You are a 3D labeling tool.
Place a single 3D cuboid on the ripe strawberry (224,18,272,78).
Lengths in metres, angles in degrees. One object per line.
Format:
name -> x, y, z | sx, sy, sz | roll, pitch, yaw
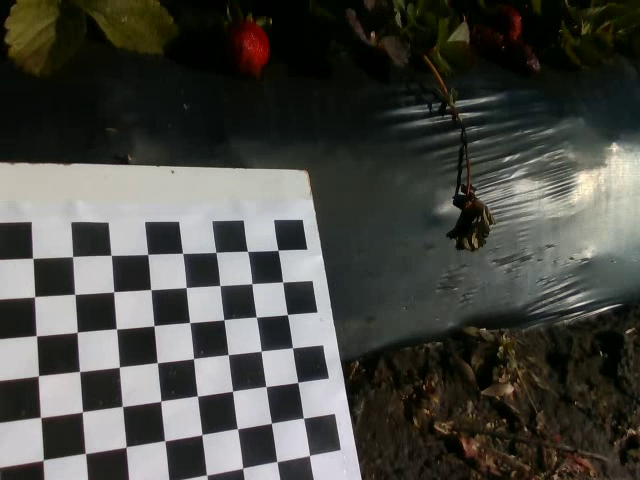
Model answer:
ripe strawberry -> -0.055, -0.135, 0.494 | 0.042, 0.043, 0.050 | 34, 12, -14
